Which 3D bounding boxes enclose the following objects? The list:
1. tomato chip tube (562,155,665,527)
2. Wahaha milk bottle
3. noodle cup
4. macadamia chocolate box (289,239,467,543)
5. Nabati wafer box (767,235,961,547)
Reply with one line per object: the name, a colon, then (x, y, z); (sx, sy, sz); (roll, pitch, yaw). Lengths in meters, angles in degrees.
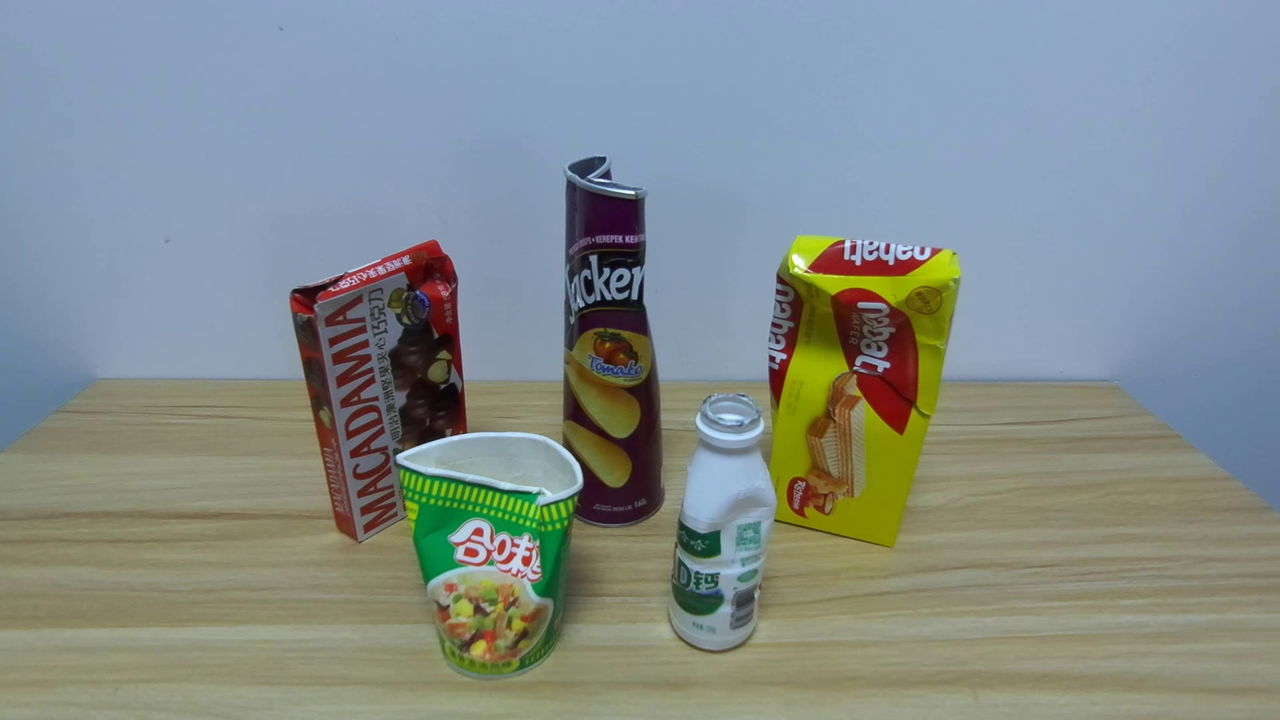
tomato chip tube: (-0.016, -0.006, 0.465); (0.076, 0.235, 0.078); (16, 30, 25)
Wahaha milk bottle: (0.042, 0.089, 0.382); (0.055, 0.149, 0.055); (0, 28, 0)
noodle cup: (-0.077, 0.107, 0.385); (0.075, 0.122, 0.082); (-13, 22, -40)
macadamia chocolate box: (-0.160, 0.022, 0.463); (0.027, 0.187, 0.103); (25, 36, 32)
Nabati wafer box: (0.132, 0.022, 0.453); (0.106, 0.204, 0.042); (10, 31, 16)
